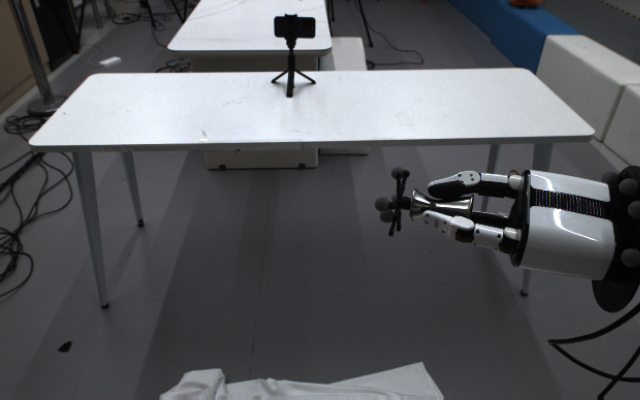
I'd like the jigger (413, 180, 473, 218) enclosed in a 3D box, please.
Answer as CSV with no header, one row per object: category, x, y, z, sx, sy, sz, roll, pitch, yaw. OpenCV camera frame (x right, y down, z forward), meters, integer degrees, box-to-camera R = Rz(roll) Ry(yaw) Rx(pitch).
jigger,0.152,0.004,0.576,0.071,0.043,0.043,7,34,21
